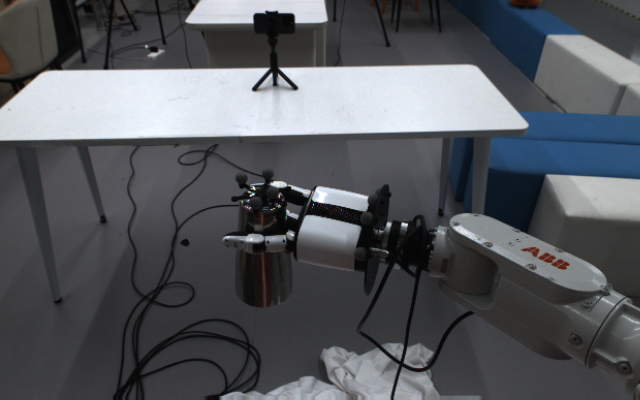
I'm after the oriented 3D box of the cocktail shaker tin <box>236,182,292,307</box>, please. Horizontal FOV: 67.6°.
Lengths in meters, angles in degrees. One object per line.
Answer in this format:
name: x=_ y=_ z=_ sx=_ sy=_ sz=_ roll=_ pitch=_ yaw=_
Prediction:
cocktail shaker tin: x=-0.084 y=0.066 z=0.737 sx=0.093 sy=0.170 sz=0.093 roll=2 pitch=33 yaw=-2
